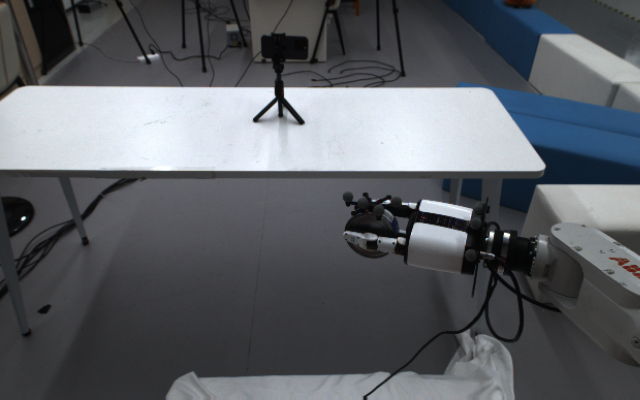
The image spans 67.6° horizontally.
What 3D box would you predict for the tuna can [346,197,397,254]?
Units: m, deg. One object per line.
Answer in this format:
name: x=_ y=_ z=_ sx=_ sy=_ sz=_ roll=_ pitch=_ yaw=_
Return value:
tuna can: x=0.087 y=0.048 z=0.796 sx=0.085 sy=0.085 sz=0.034 roll=14 pitch=29 yaw=16
